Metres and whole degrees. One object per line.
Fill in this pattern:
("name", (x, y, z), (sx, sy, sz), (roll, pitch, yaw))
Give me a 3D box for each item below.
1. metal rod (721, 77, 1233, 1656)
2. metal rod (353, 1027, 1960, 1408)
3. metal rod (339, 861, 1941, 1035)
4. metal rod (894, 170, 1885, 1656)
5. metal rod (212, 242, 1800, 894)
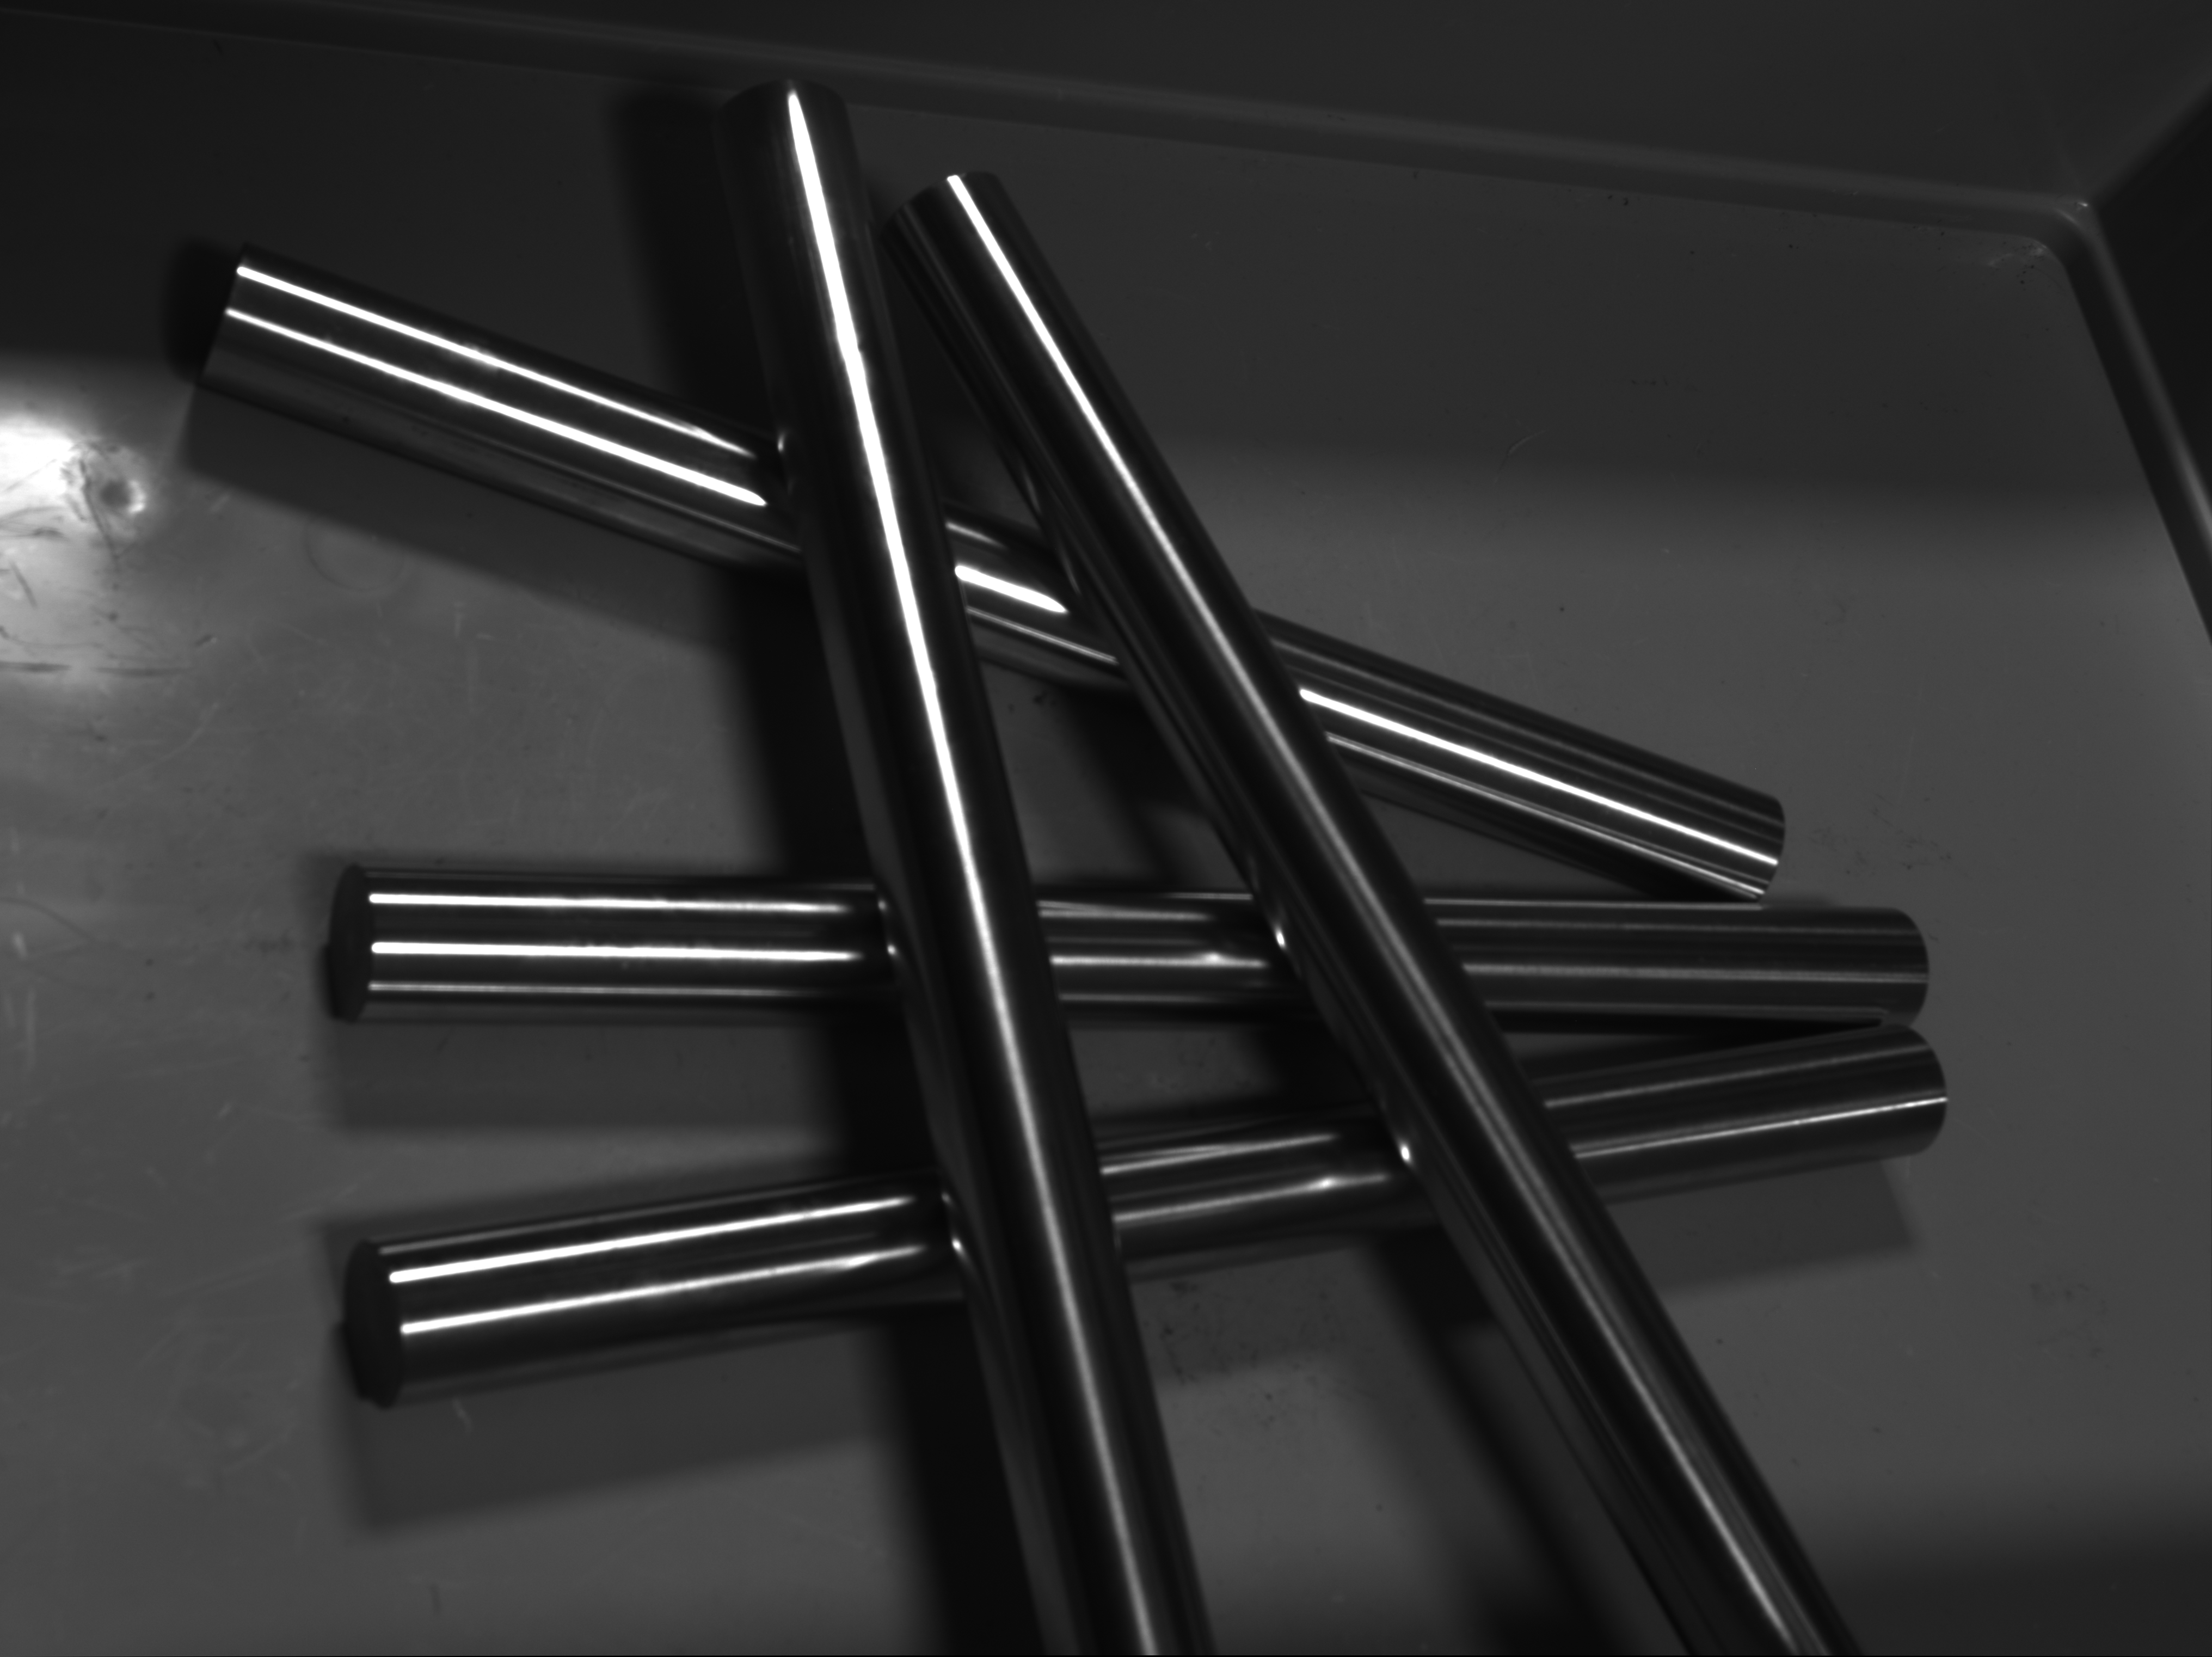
("metal rod", (-0.023, 0.006, 0.589), (0.025, 0.025, 0.300), (0, 62, -28))
("metal rod", (0.023, 0.061, 0.613), (0.301, 0.025, 0.025), (-5, 64, -30))
("metal rod", (0.019, 0.022, 0.634), (0.301, 0.025, 0.025), (2, 61, -27))
("metal rod", (0.044, 0.015, 0.620), (0.025, 0.025, 0.300), (-19, 72, -35))
("metal rod", (-0.010, -0.041, 0.658), (0.301, 0.025, 0.025), (19, 54, -17))
